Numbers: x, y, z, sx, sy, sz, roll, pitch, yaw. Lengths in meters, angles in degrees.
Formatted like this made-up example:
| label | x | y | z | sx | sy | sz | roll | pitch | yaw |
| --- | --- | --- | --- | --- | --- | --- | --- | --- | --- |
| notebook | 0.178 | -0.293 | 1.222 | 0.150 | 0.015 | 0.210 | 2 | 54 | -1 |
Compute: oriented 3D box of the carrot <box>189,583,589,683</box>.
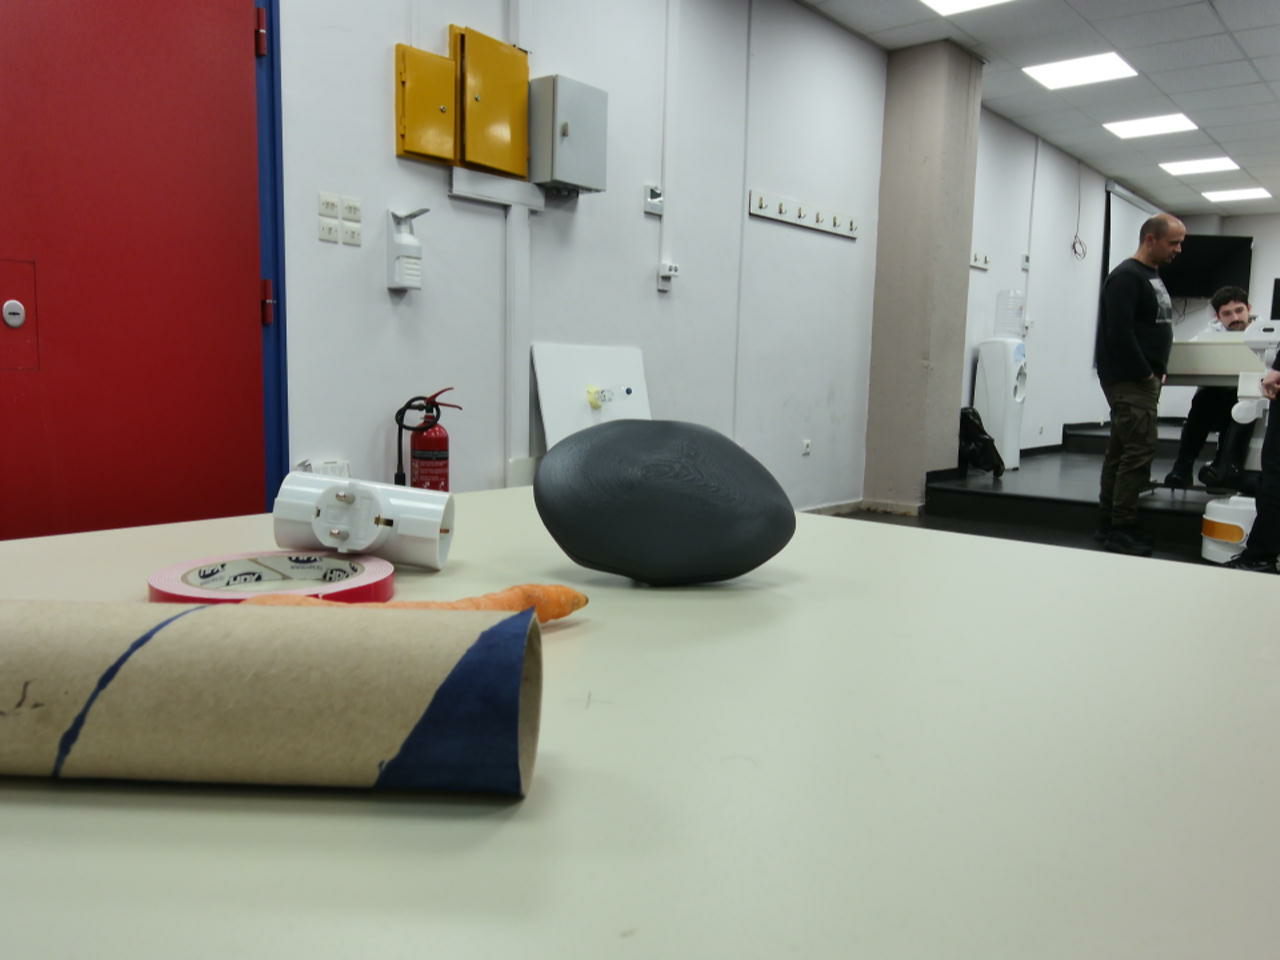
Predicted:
| label | x | y | z | sx | sy | sz | roll | pitch | yaw |
| --- | --- | --- | --- | --- | --- | --- | --- | --- | --- |
| carrot | -0.086 | 0.054 | 0.393 | 0.173 | 0.032 | 0.030 | -4 | 5 | -41 |
